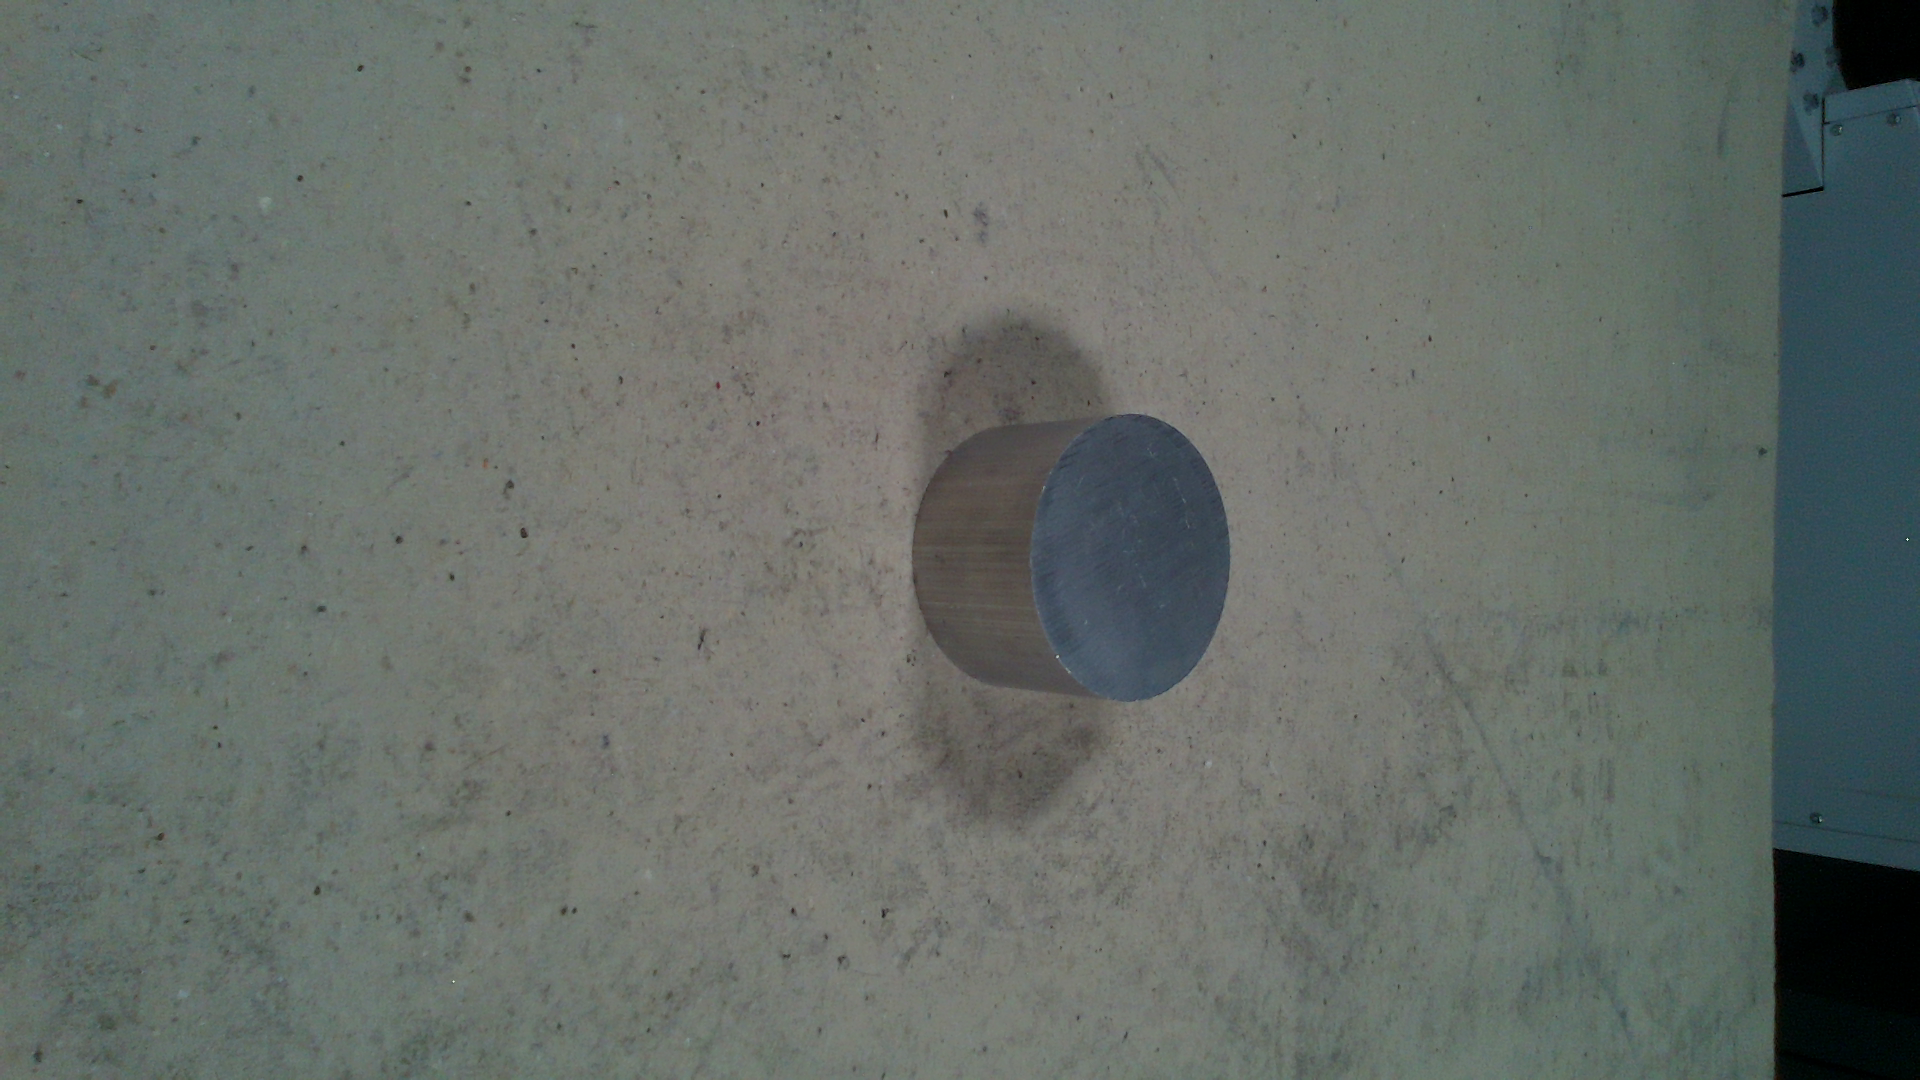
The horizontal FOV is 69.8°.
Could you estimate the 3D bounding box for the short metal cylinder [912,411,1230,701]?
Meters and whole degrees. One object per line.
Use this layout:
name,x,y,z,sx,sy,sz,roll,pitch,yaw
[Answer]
short metal cylinder,0.033,0.004,0.400,0.080,0.050,0.080,0,90,-40
